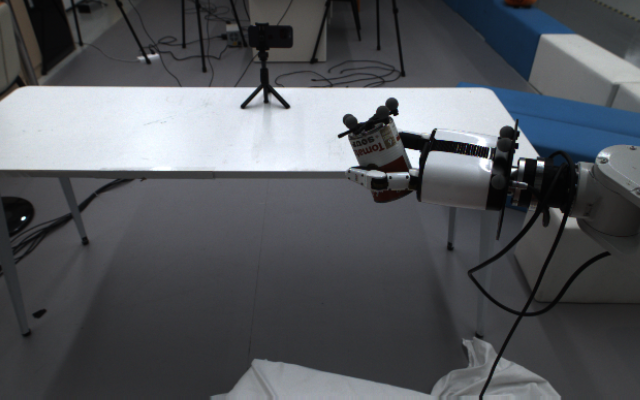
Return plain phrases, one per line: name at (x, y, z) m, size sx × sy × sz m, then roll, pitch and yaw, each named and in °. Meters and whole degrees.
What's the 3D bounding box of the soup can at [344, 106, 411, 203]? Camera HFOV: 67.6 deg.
soup can at (0.089, -0.056, 0.675) m, size 0.067 × 0.101 × 0.067 m, roll -23°, pitch 16°, yaw 7°
